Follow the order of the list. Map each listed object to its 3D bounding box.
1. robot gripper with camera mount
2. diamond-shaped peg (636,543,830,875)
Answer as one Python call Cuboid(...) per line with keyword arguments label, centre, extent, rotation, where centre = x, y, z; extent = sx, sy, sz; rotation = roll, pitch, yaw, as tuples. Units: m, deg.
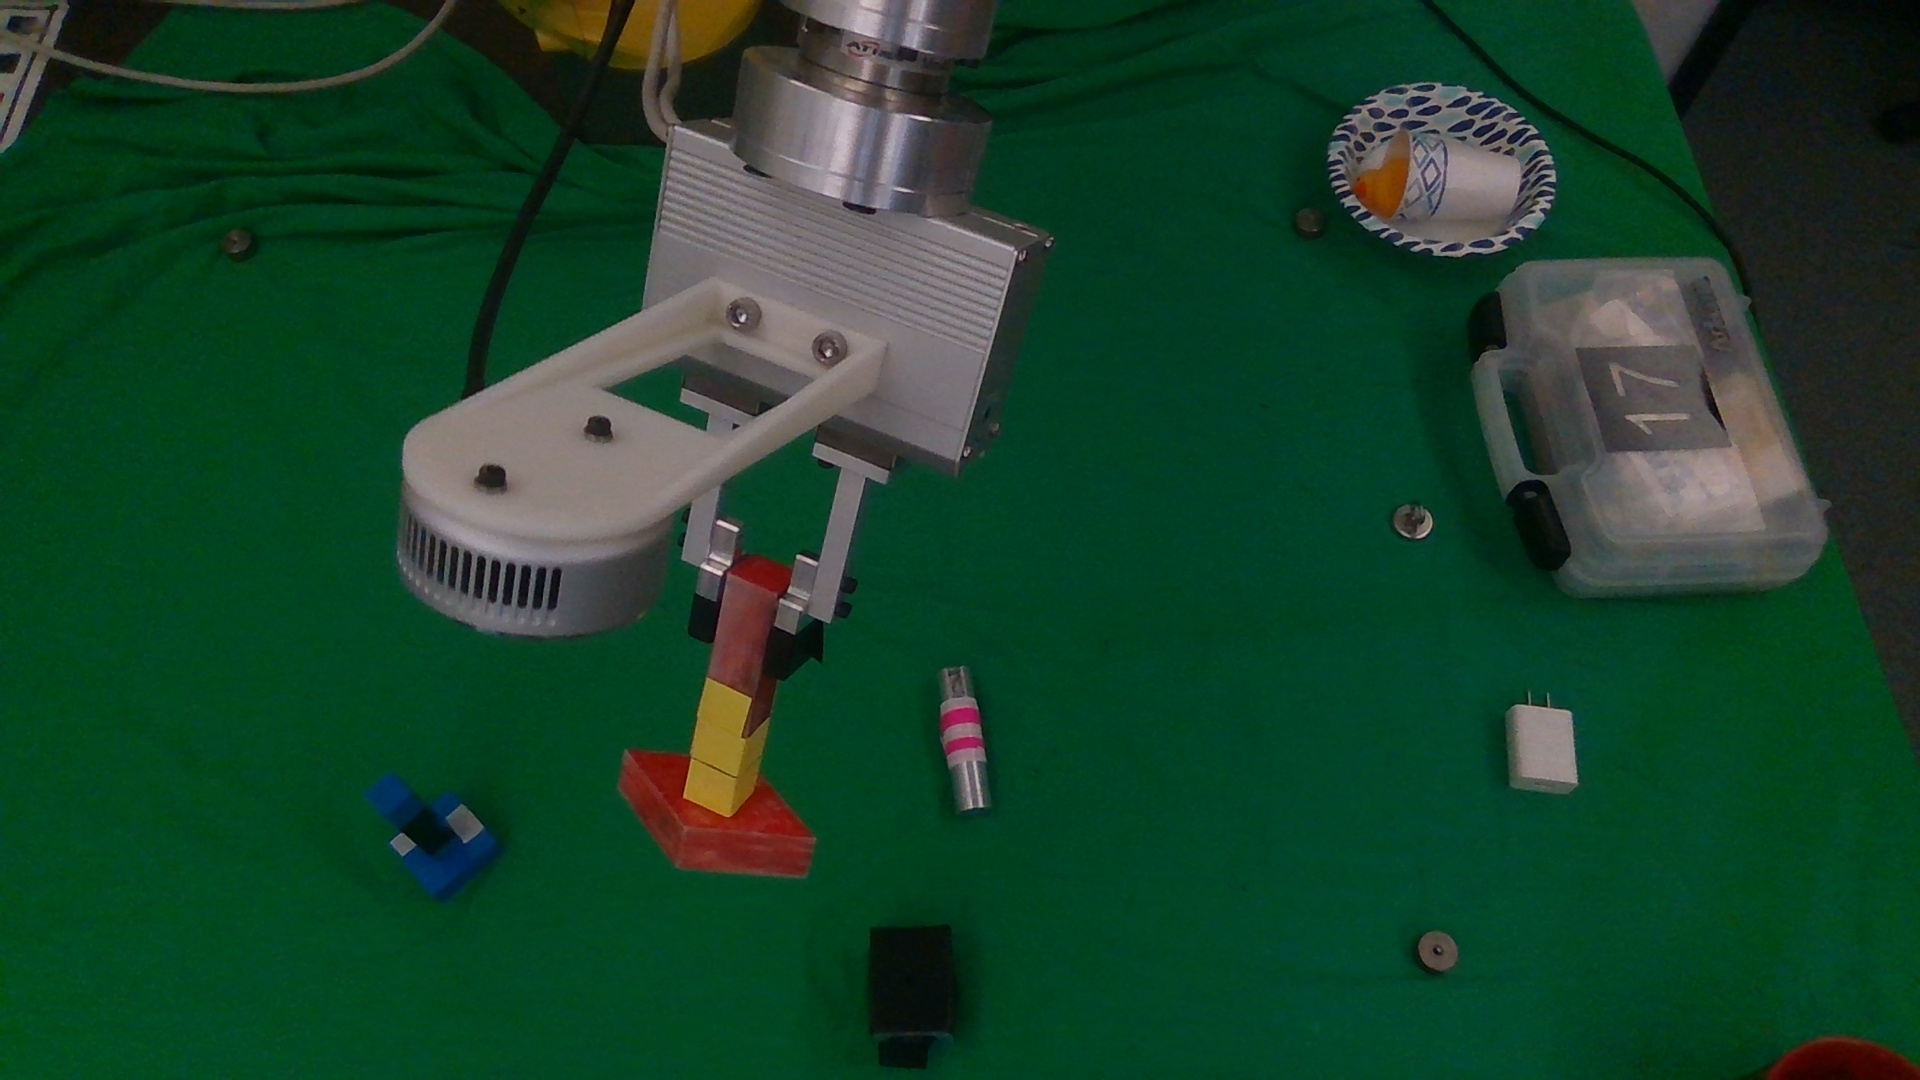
Cuboid(label="robot gripper with camera mount", centre=(-0.073, 0.000, 0.397), extent=(0.119, 0.159, 0.193), rotation=(20, 29, 9))
Cuboid(label="diamond-shaped peg", centre=(-0.076, 0.060, 0.513), extent=(0.074, 0.122, 0.045), rotation=(11, 25, -11))
